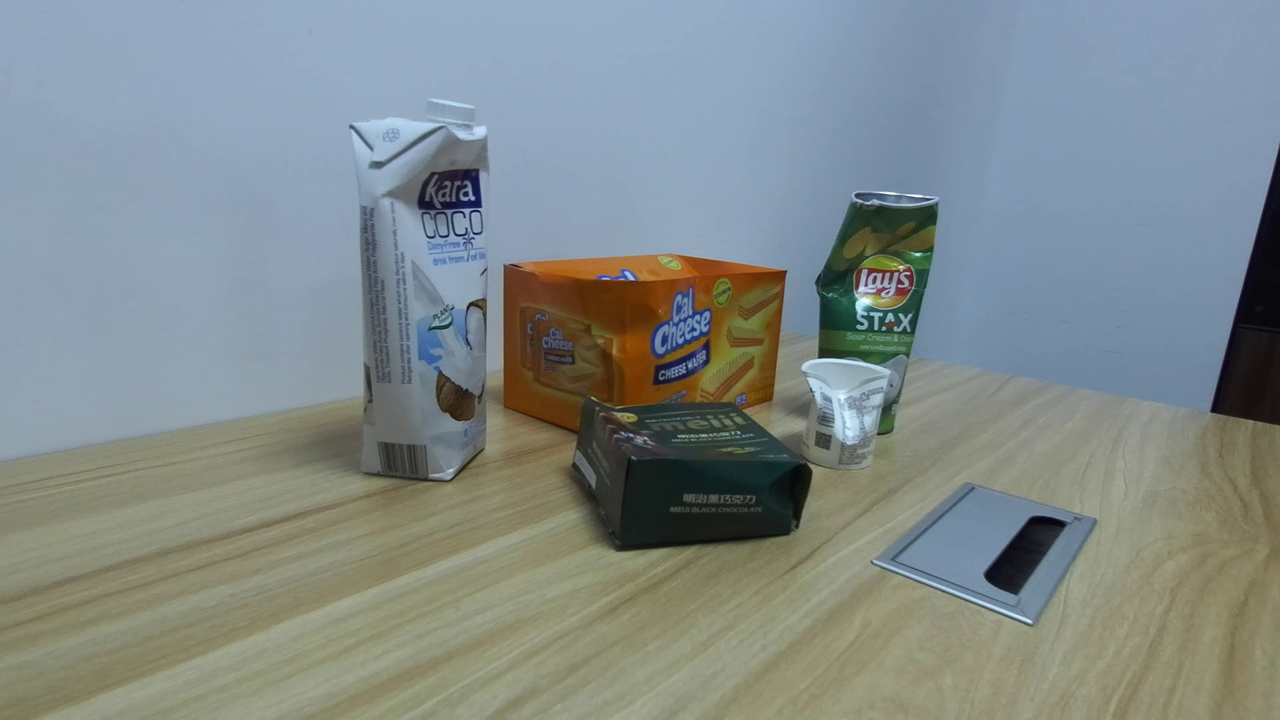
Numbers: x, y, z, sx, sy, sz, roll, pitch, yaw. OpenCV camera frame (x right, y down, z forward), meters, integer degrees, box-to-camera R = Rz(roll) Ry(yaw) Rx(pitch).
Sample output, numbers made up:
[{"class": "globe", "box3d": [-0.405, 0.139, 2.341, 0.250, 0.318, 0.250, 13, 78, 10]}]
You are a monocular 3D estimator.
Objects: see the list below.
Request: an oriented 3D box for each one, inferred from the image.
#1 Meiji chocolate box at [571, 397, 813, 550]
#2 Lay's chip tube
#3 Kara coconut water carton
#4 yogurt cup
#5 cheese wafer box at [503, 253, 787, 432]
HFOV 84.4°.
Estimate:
[{"class": "Meiji chocolate box", "box3d": [0.028, 0.066, 0.438, 0.116, 0.058, 0.122, 2, 14, -17]}, {"class": "Lay's chip tube", "box3d": [0.197, -0.040, 0.603, 0.069, 0.201, 0.077, 16, 21, 38]}, {"class": "Kara coconut water carton", "box3d": [-0.140, -0.044, 0.462, 0.069, 0.238, 0.115, 7, 14, 6]}, {"class": "yogurt cup", "box3d": [0.151, 0.040, 0.533, 0.067, 0.070, 0.067, 2, 13, 0]}, {"class": "cheese wafer box", "box3d": [0.010, -0.019, 0.632, 0.151, 0.132, 0.231, 17, 18, 40]}]
